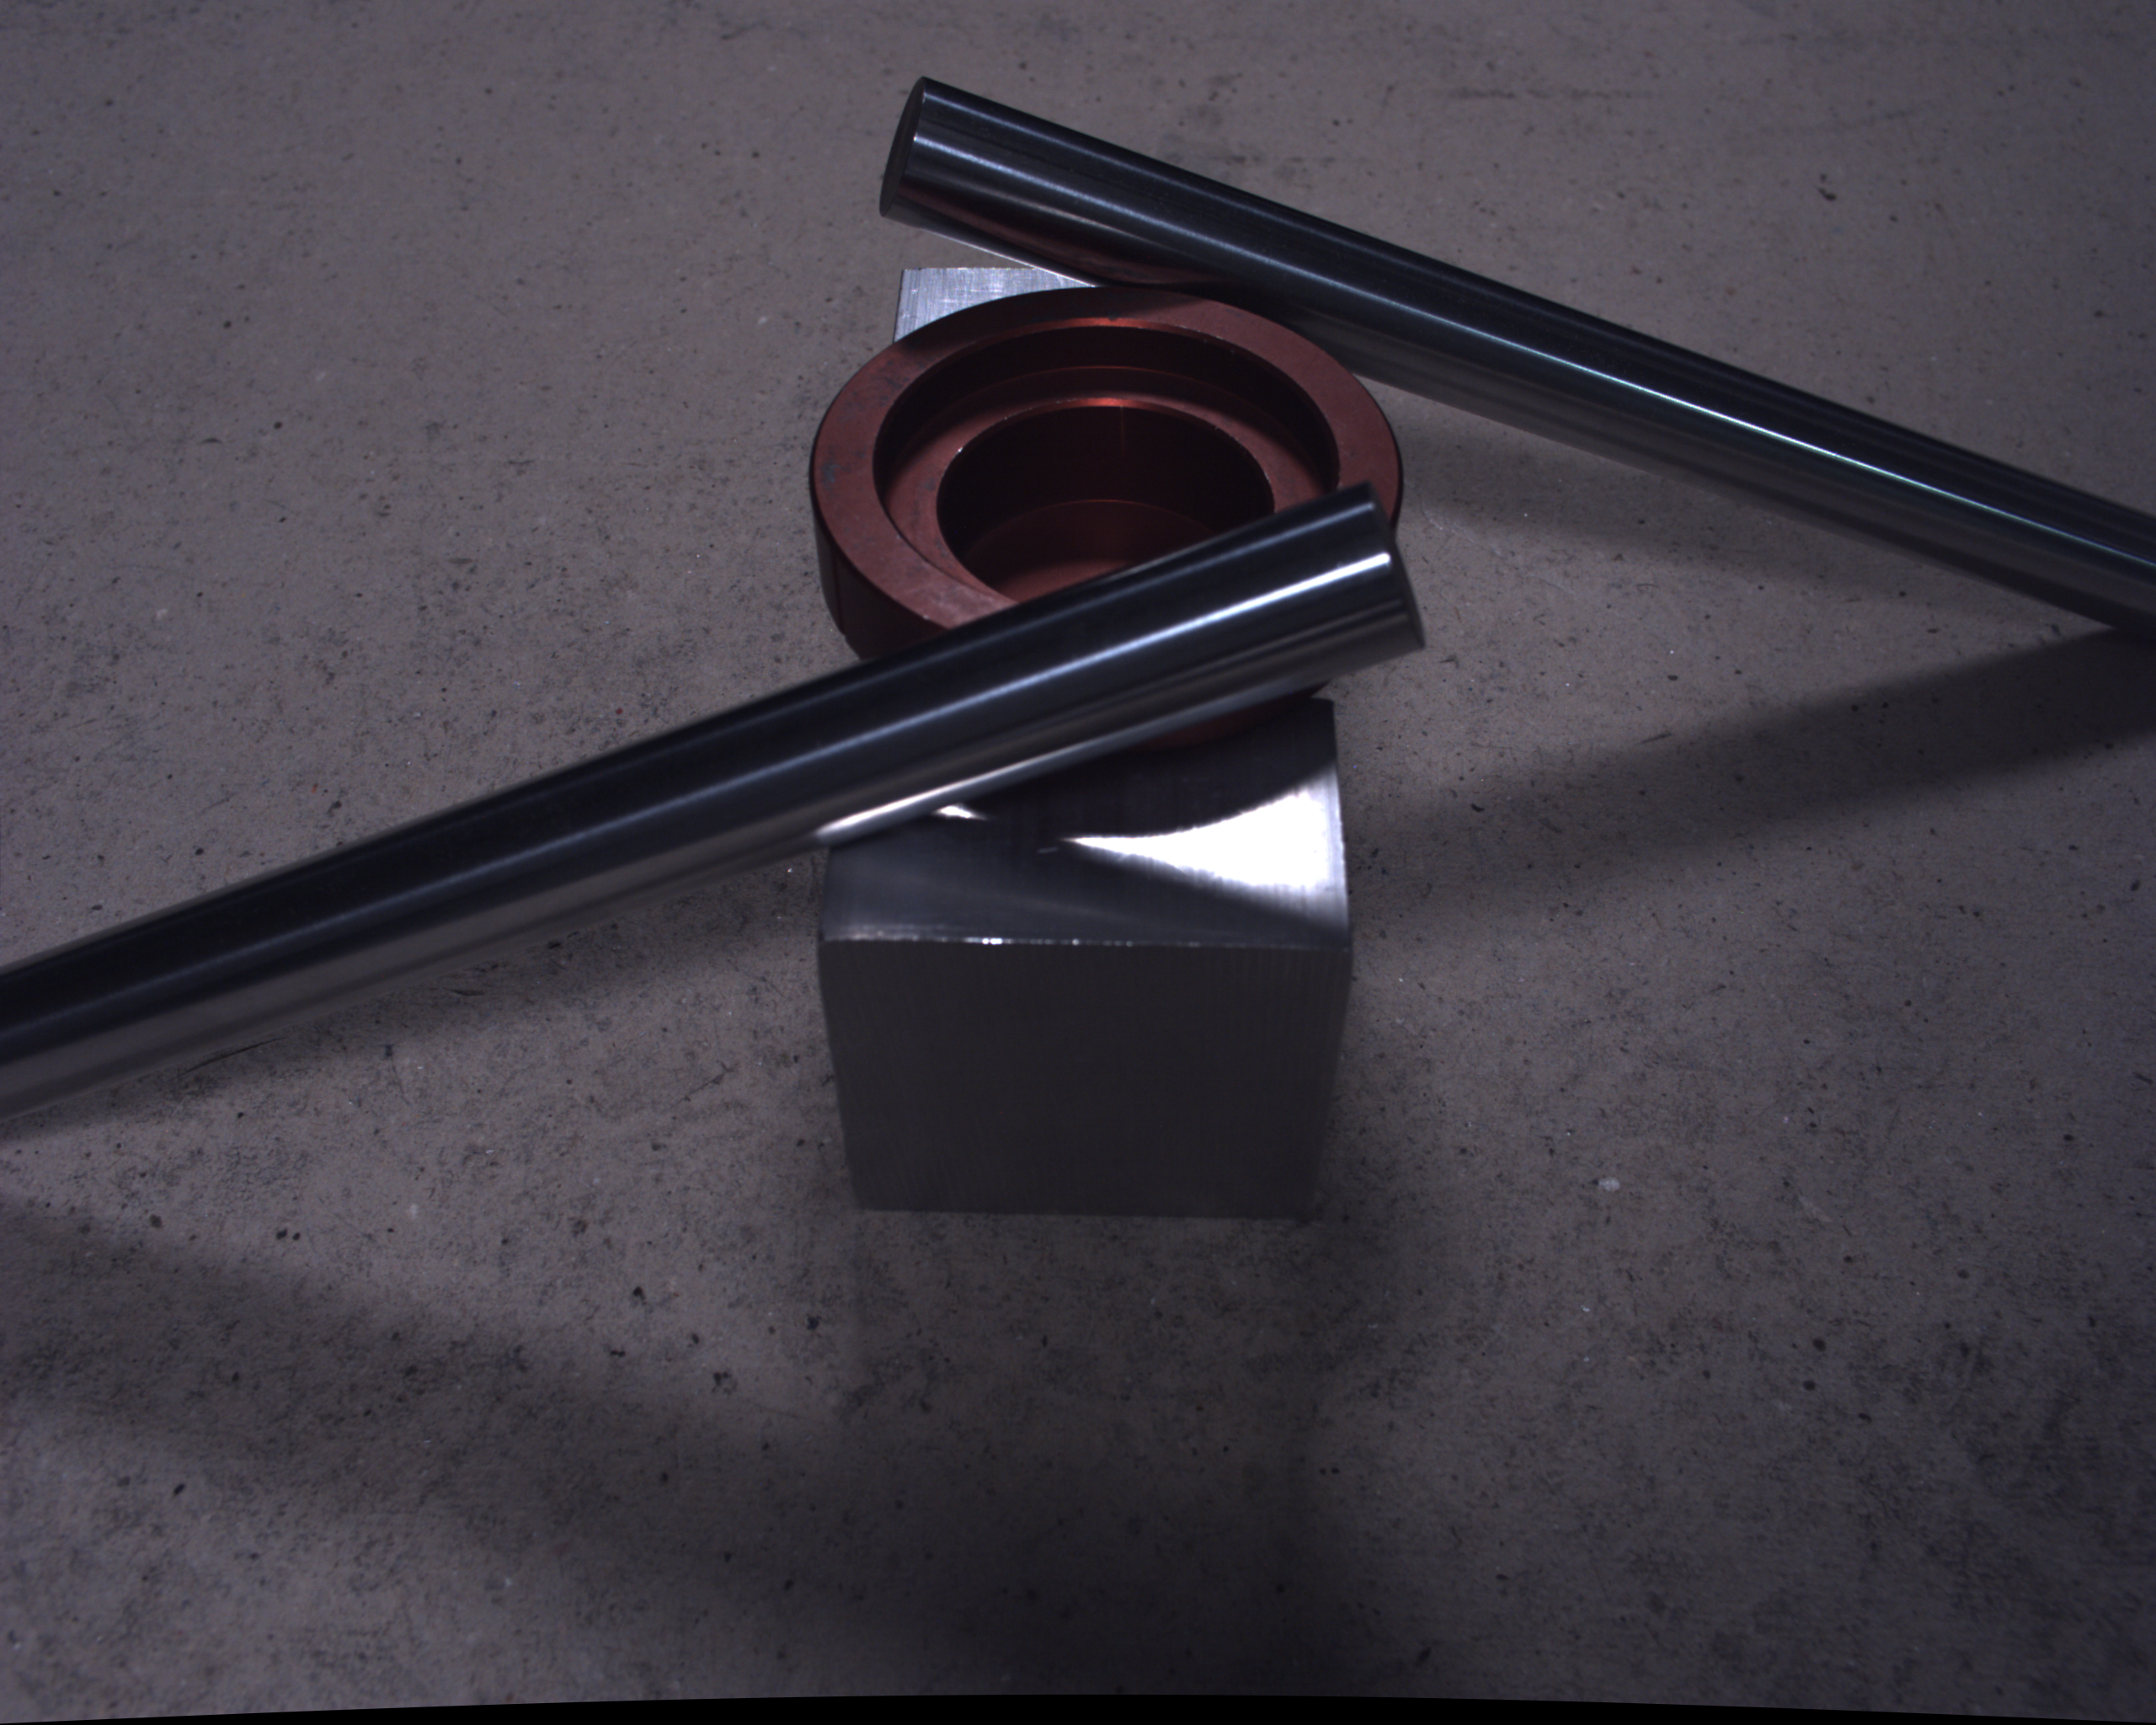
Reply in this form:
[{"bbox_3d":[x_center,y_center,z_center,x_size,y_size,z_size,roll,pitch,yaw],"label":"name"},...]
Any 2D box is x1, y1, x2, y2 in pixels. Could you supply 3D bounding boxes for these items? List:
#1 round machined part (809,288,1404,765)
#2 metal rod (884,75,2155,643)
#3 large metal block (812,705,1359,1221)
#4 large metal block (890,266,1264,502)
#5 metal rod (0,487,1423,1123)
[{"bbox_3d":[0.005,-0.054,0.363,0.099,0.042,0.098,0,50,0],"label":"round machined part"},{"bbox_3d":[0.109,-0.092,0.414,0.302,0.025,0.025,14,48,-18],"label":"metal rod"},{"bbox_3d":[0.001,0.018,0.354,0.081,0.080,0.050,1,50,0],"label":"large metal block"},{"bbox_3d":[0.004,-0.074,0.431,0.081,0.080,0.050,1,50,0],"label":"large metal block"},{"bbox_3d":[-0.094,0.003,0.329,0.301,0.025,0.025,-18,49,14],"label":"metal rod"}]
